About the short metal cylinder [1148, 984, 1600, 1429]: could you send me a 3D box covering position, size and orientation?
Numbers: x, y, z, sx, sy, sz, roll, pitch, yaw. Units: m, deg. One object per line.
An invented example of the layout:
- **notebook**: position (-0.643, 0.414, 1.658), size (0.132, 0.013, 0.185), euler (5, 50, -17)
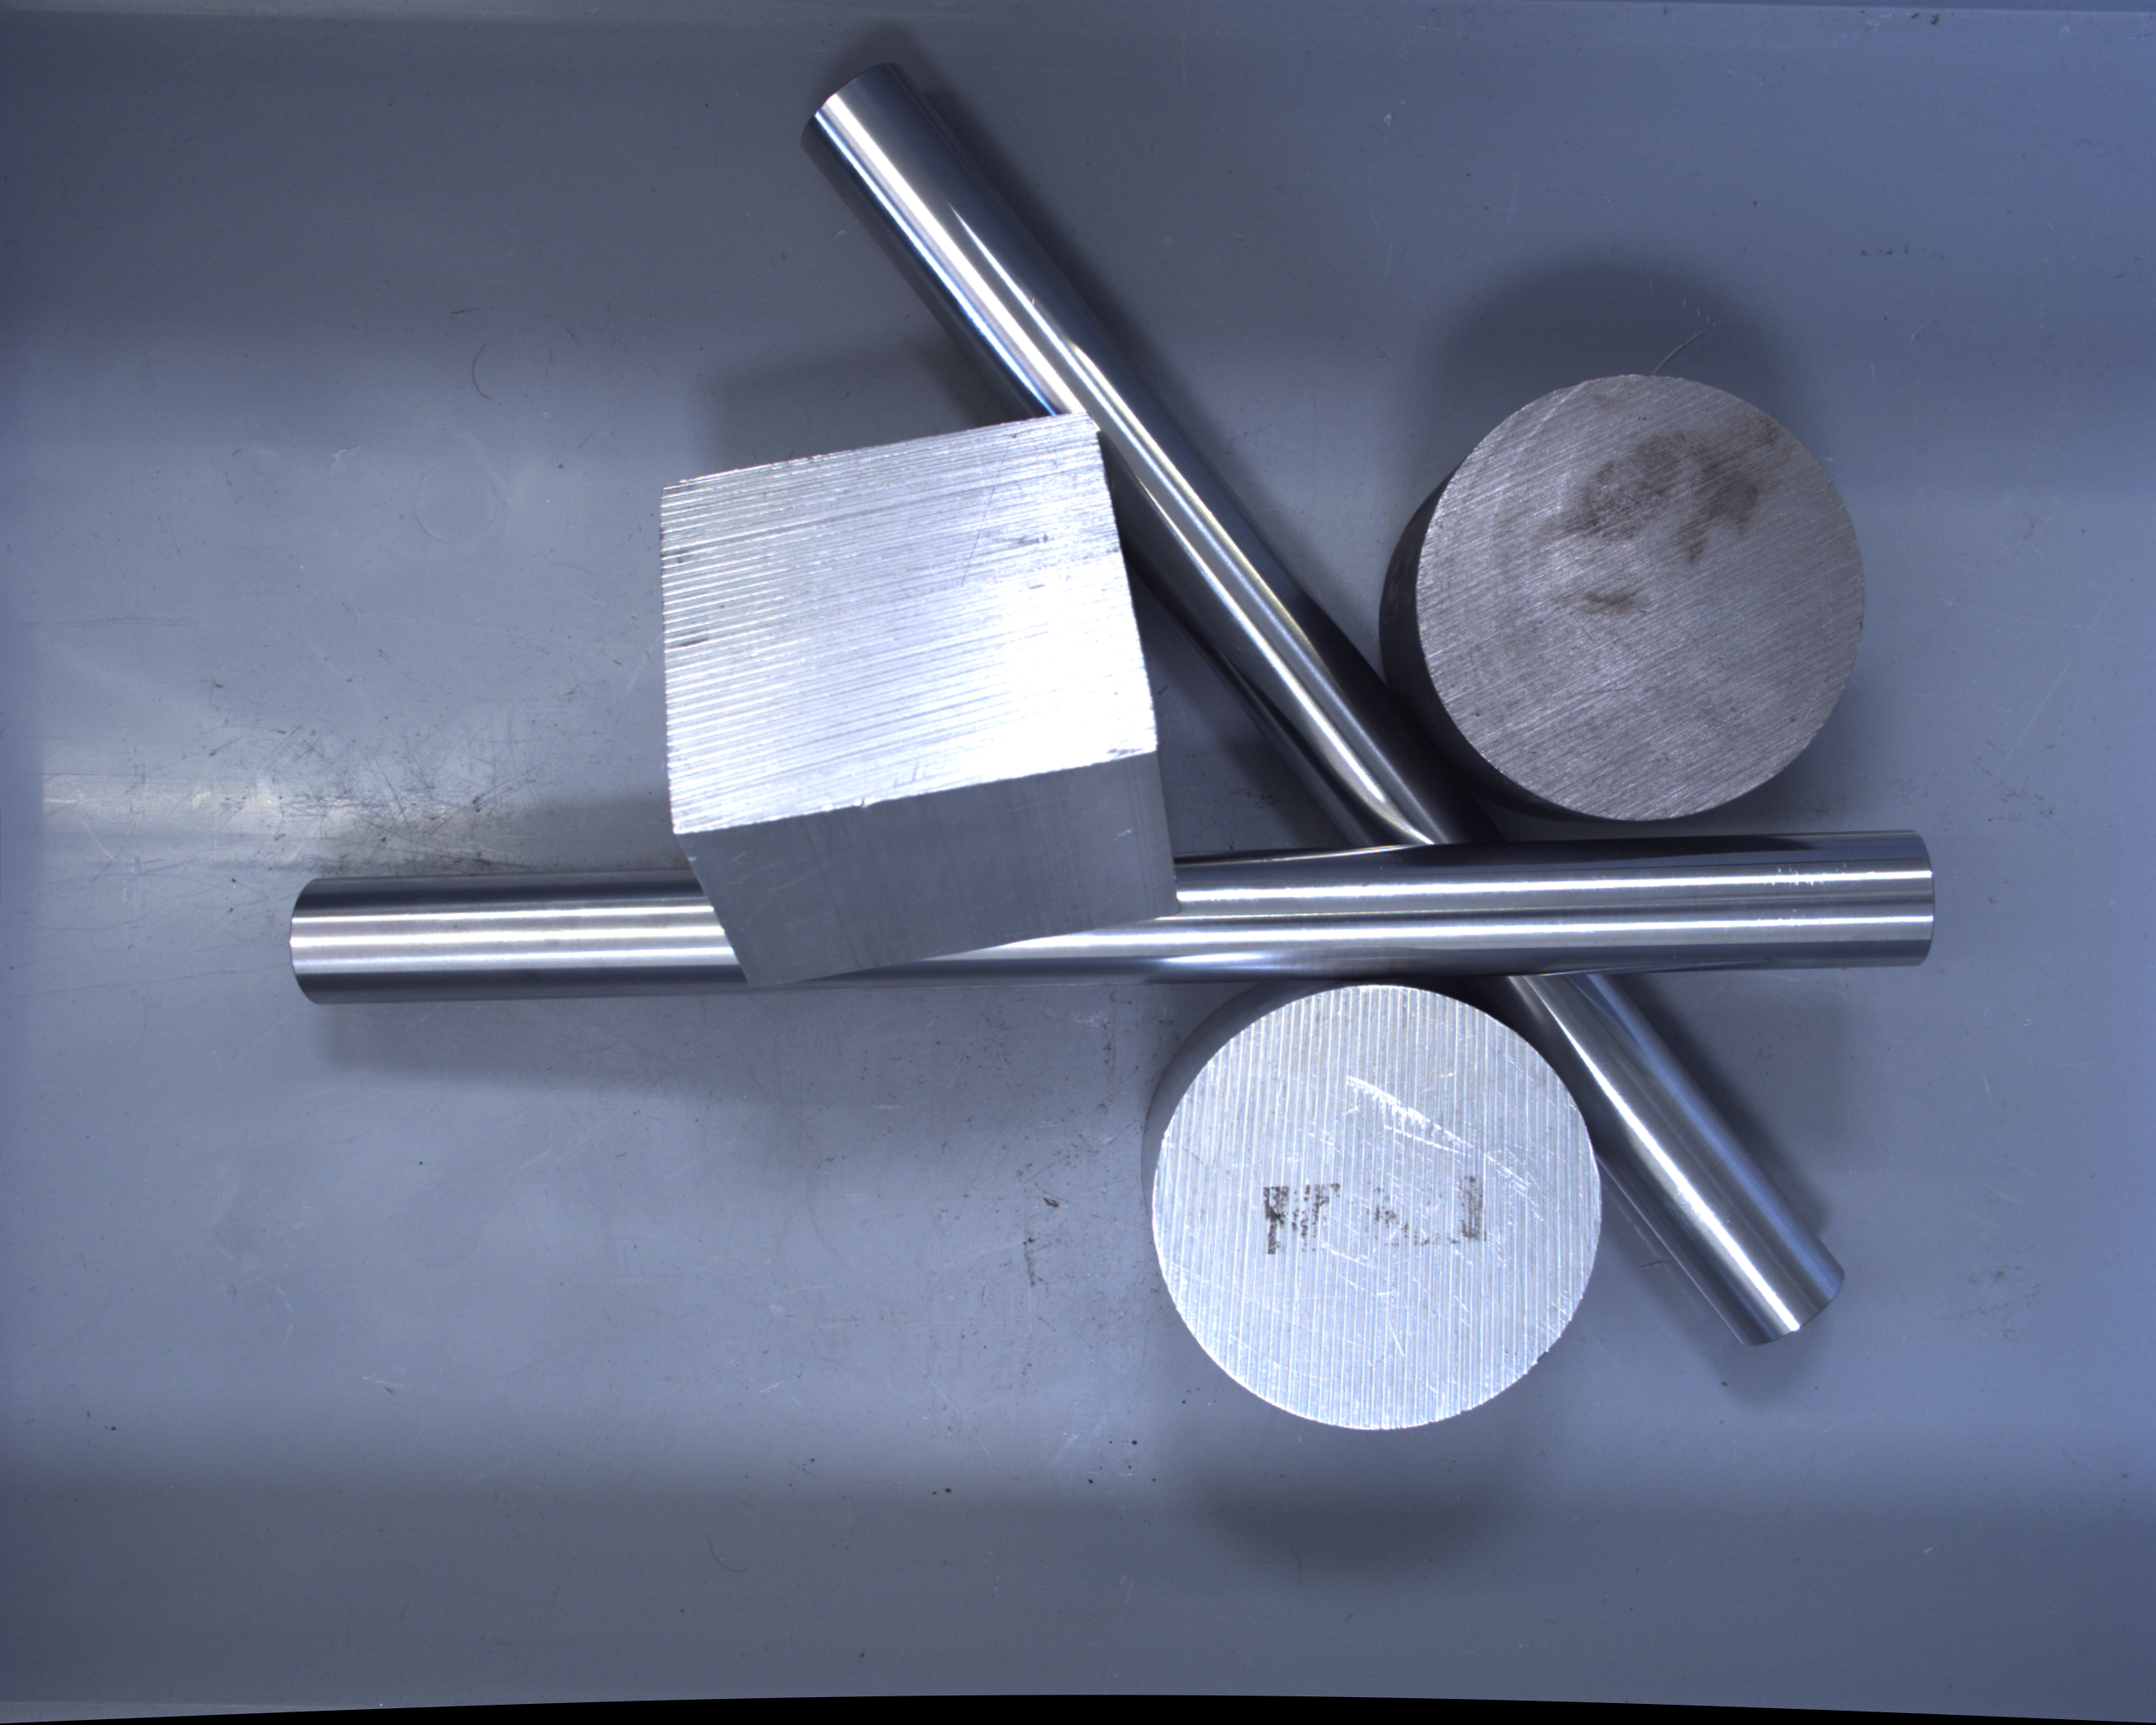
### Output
- **short metal cylinder**: position (0.053, 0.061, 0.398), size (0.081, 0.050, 0.079), euler (0, 90, 0)

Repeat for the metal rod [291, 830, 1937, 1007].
- **metal rod**: position (0.002, 0.011, 0.393), size (0.302, 0.025, 0.025), euler (-2, 90, 6)

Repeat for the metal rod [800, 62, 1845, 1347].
- **metal rod**: position (0.048, -0.030, 0.410), size (0.025, 0.025, 0.300), euler (-38, 90, 0)

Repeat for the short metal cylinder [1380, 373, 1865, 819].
- **short metal cylinder**: position (0.101, -0.048, 0.398), size (0.081, 0.050, 0.079), euler (0, 90, 0)

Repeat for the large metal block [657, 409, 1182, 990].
- **large metal block**: position (-0.029, -0.030, 0.379), size (0.080, 0.050, 0.080), euler (-10, 55, 0)
